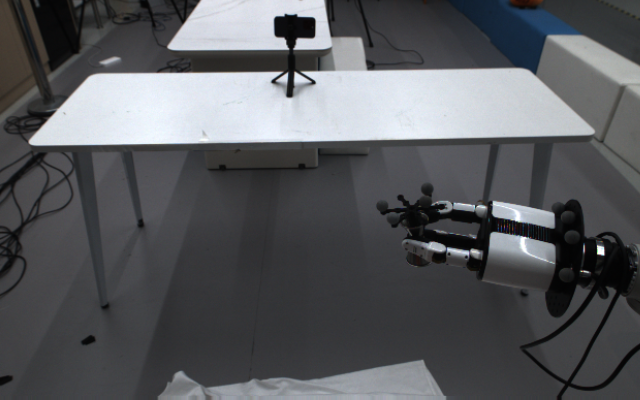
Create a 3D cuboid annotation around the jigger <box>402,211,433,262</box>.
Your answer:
[{"bbox_3d":[0.140,0.055,0.694,0.043,0.071,0.043,-12,29,7],"label":"jigger"}]
